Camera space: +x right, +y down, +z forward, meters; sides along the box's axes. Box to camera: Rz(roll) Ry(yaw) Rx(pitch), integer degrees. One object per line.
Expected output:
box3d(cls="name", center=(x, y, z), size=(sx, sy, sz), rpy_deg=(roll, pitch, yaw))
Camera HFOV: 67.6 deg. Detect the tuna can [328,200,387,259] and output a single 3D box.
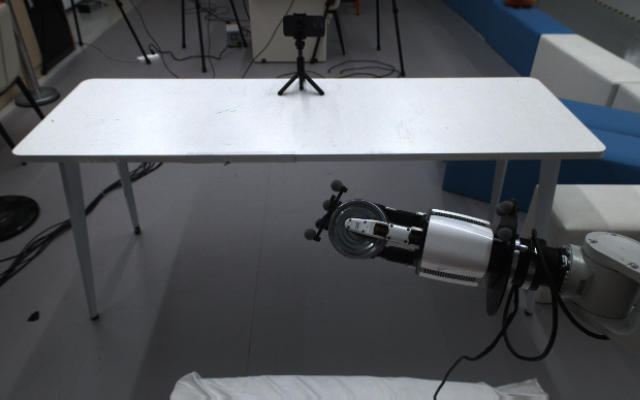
box3d(cls="tuna can", center=(0.058, 0.040, 0.683), size=(0.085, 0.085, 0.034), rpy_deg=(9, -5, 10))
